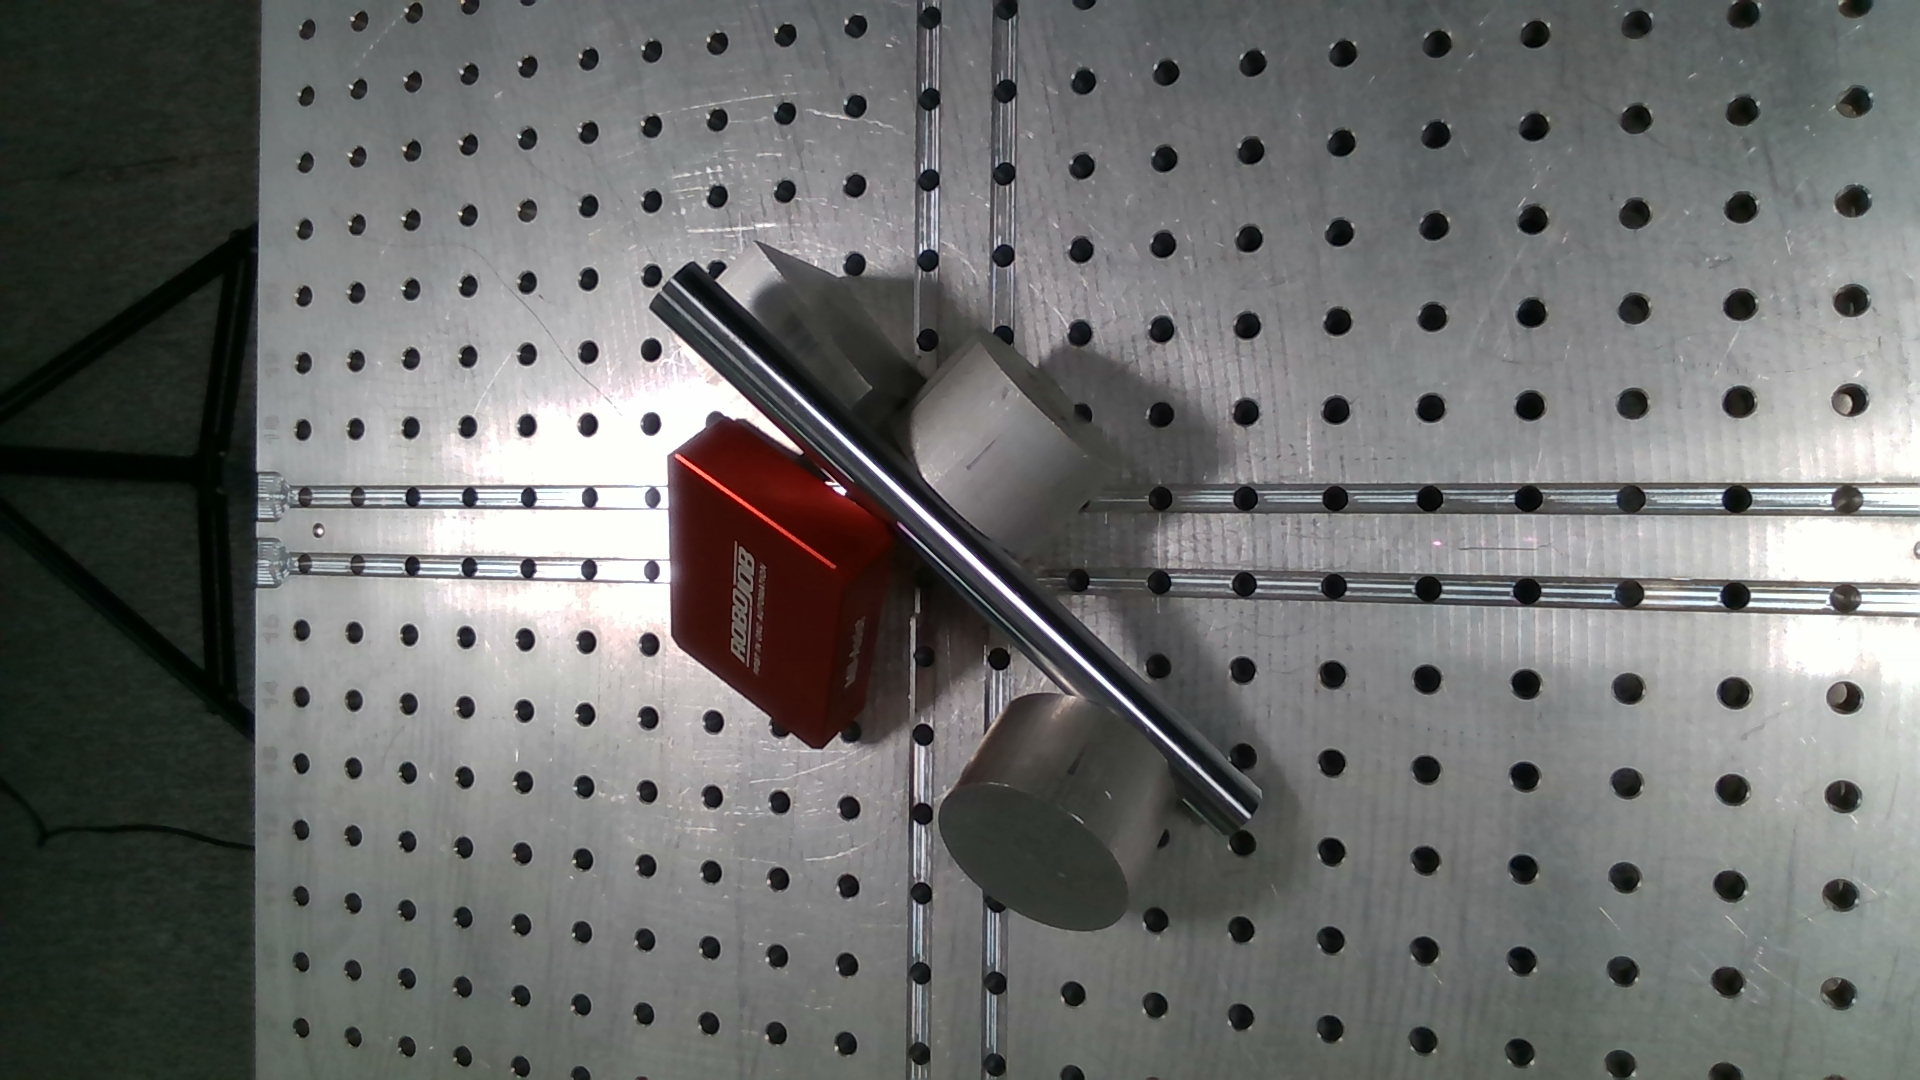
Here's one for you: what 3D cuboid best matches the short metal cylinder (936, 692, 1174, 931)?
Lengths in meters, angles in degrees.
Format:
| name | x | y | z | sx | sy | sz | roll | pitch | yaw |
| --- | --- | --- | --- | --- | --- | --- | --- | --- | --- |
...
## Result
| name | x | y | z | sx | sy | sz | roll | pitch | yaw |
| --- | --- | --- | --- | --- | --- | --- | --- | --- | --- |
| short metal cylinder | 0.038 | 0.107 | 0.541 | 0.080 | 0.050 | 0.080 | 20 | 136 | 20 |

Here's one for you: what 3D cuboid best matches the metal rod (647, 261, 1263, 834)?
| name | x | y | z | sx | sy | sz | roll | pitch | yaw |
| --- | --- | --- | --- | --- | --- | --- | --- | --- | --- |
| metal rod | 0.002 | 0.006 | 0.530 | 0.300 | 0.025 | 0.025 | 43 | 105 | -7 |

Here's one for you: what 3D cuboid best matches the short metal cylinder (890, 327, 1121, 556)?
| name | x | y | z | sx | sy | sz | roll | pitch | yaw |
| --- | --- | --- | --- | --- | --- | --- | --- | --- | --- |
| short metal cylinder | 0.018 | -0.039 | 0.551 | 0.050 | 0.080 | 0.080 | -45 | 76 | 15 |

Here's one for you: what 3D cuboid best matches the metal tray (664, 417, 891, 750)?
| name | x | y | z | sx | sy | sz | roll | pitch | yaw |
| --- | --- | --- | --- | --- | --- | --- | --- | --- | --- |
| metal tray | -0.079 | 0.022 | 0.572 | 0.090 | 0.030 | 0.130 | 34 | 143 | 17 |

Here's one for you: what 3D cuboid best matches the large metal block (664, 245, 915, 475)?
| name | x | y | z | sx | sy | sz | roll | pitch | yaw |
| --- | --- | --- | --- | --- | --- | --- | --- | --- | --- |
| large metal block | -0.064 | -0.070 | 0.581 | 0.050 | 0.080 | 0.080 | -42 | 77 | 16 |
